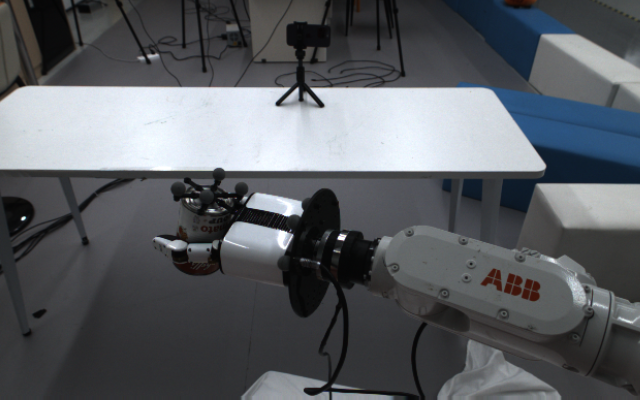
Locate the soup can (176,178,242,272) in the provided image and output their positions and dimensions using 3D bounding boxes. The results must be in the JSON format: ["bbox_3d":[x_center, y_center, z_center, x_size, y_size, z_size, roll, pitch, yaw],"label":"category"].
[{"bbox_3d":[-0.153,0.041,0.634,0.067,0.101,0.067,13,31,-8],"label":"soup can"}]
